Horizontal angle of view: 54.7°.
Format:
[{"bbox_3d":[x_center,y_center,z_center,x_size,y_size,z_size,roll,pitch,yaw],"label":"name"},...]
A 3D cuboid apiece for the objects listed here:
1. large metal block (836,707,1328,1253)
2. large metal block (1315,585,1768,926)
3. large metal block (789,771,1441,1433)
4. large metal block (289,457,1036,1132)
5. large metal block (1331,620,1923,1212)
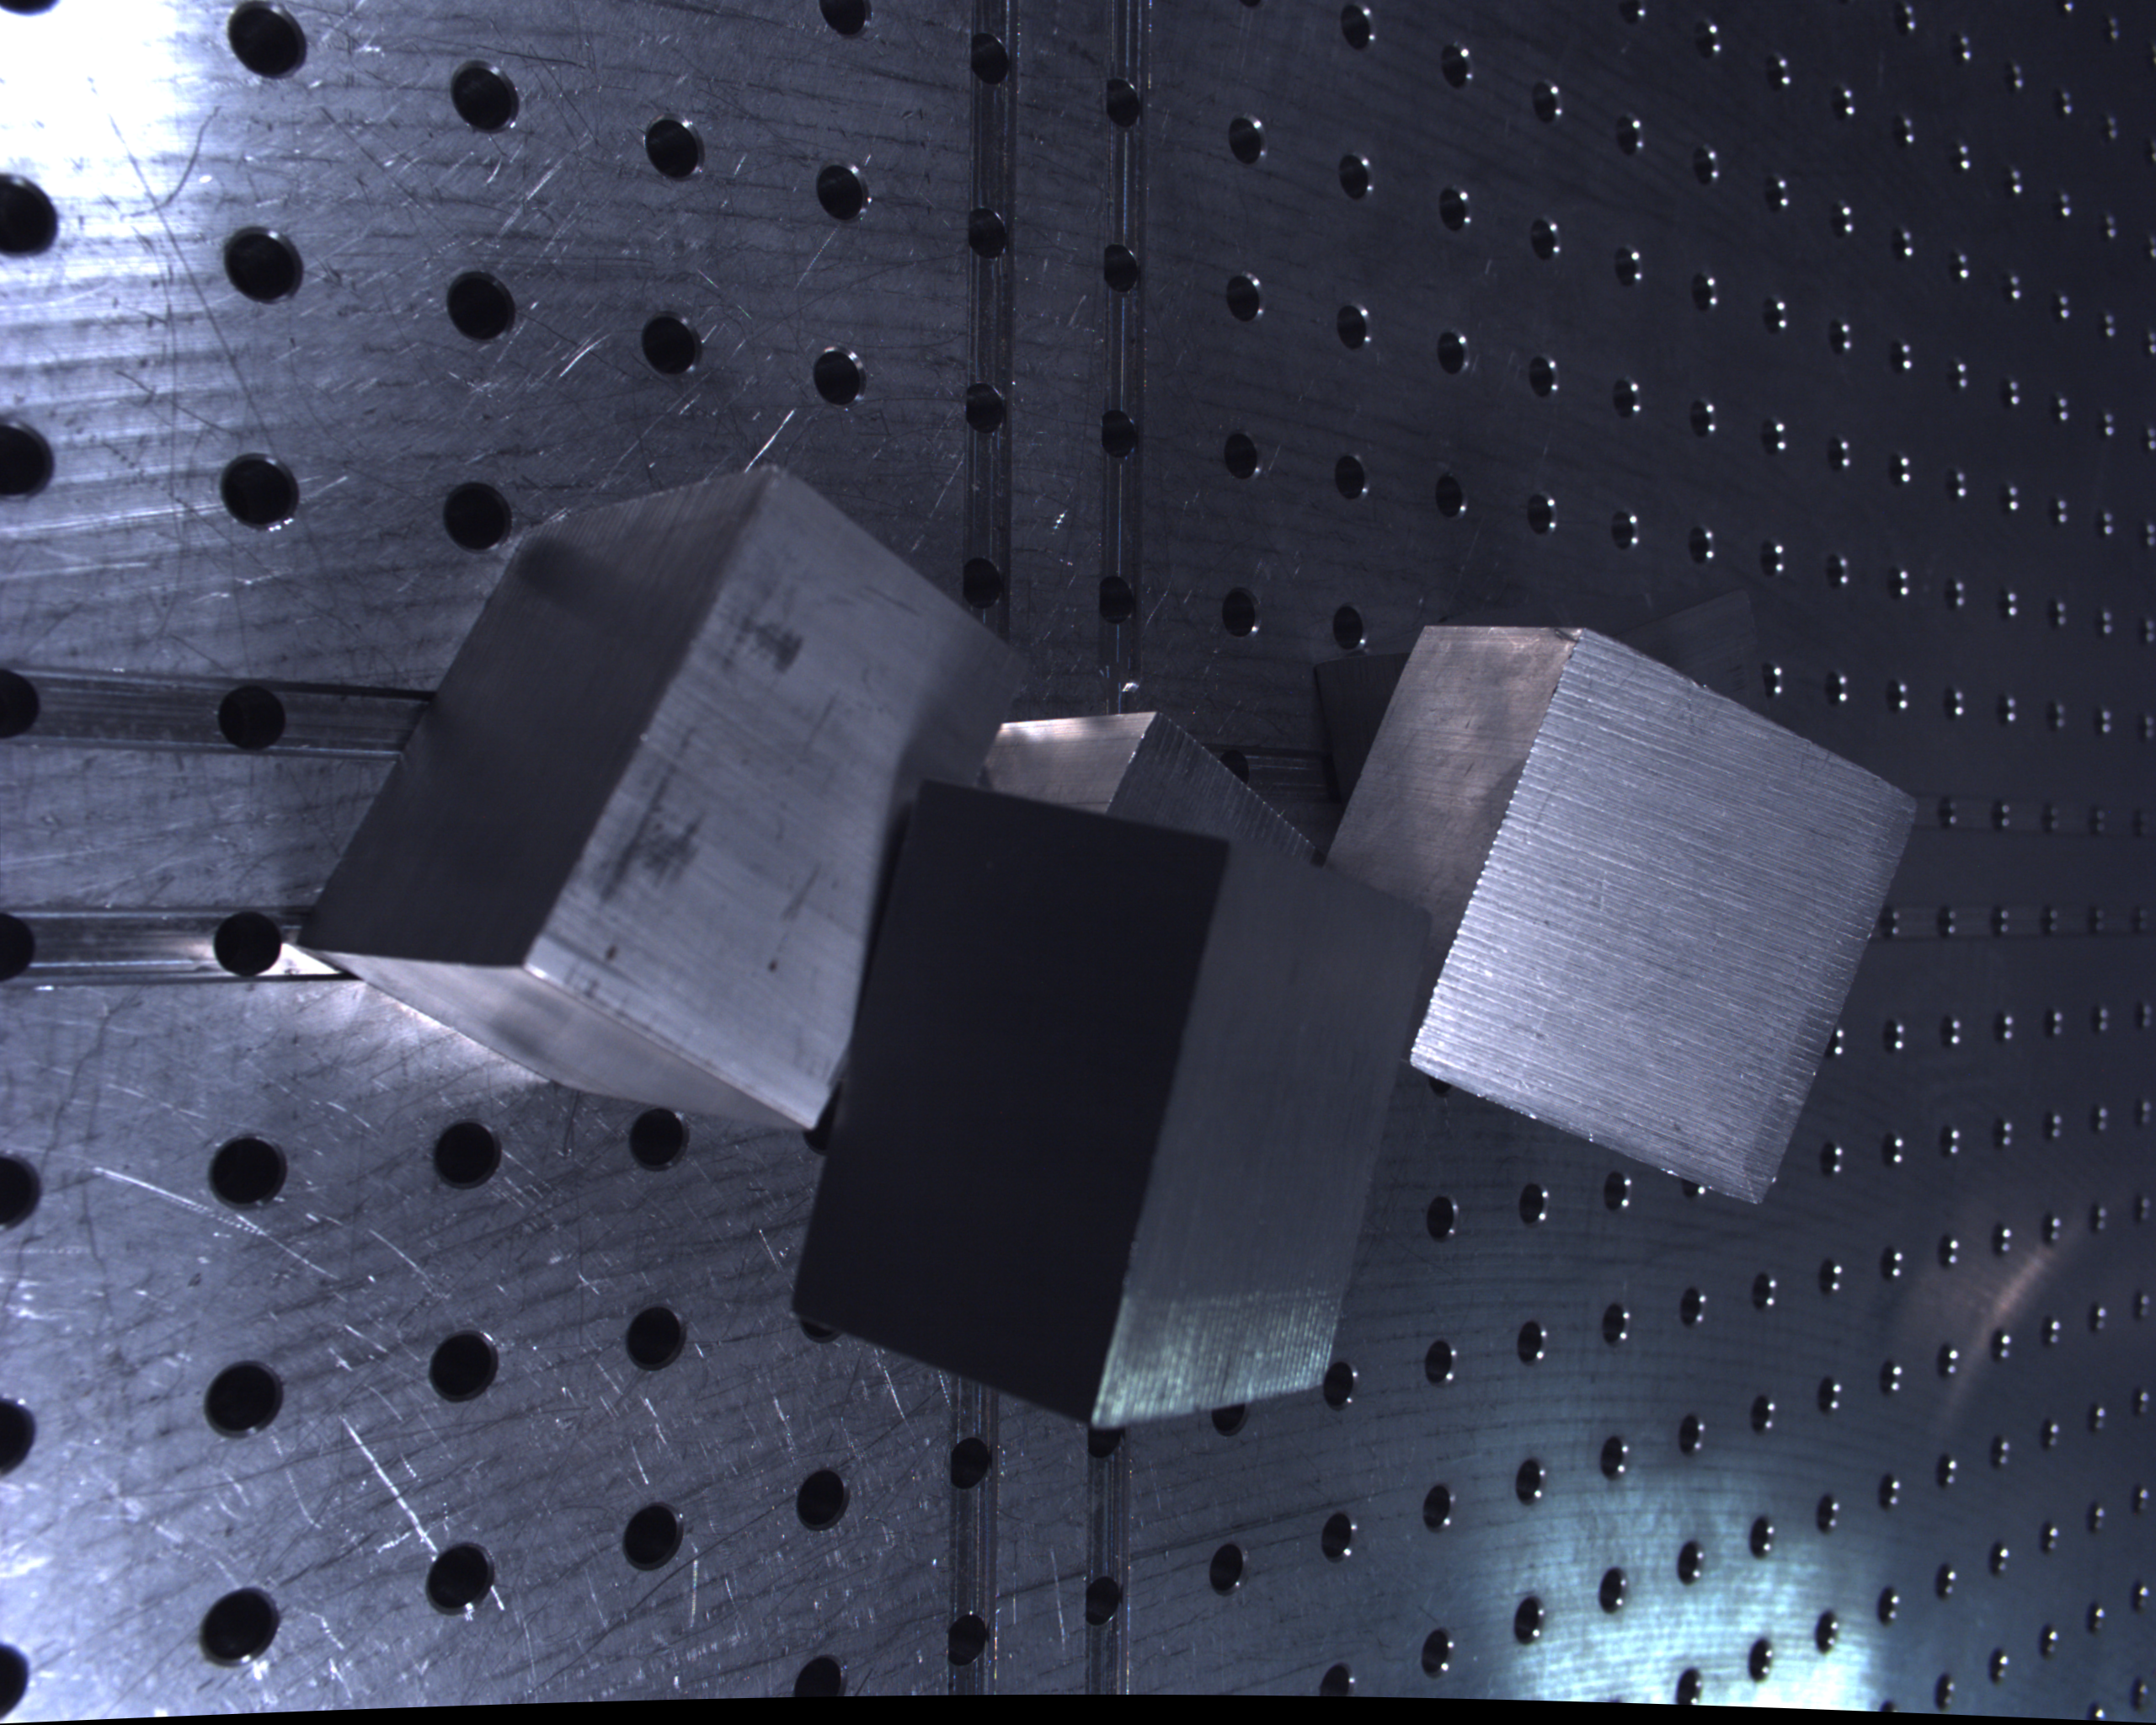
[{"bbox_3d":[0.008,0.027,0.401,0.080,0.050,0.080,39,66,-33],"label":"large metal block"},{"bbox_3d":[0.107,-0.014,0.465,0.050,0.080,0.079,-21,104,-38],"label":"large metal block"},{"bbox_3d":[0.009,0.036,0.317,0.080,0.050,0.080,17,86,-60],"label":"large metal block"},{"bbox_3d":[-0.064,-0.010,0.320,0.050,0.080,0.080,37,67,-34],"label":"large metal block"},{"bbox_3d":[0.094,0.008,0.384,0.080,0.050,0.080,23,88,-22],"label":"large metal block"}]
